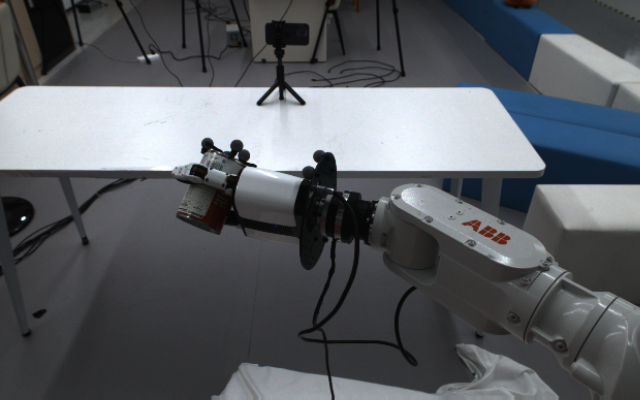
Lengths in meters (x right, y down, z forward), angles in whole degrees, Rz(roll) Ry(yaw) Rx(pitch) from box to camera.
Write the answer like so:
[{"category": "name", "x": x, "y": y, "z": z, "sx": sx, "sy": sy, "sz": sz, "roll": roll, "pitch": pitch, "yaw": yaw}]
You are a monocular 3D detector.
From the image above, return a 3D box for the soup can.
[{"category": "soup can", "x": -0.151, "y": -0.009, "z": 0.680, "sx": 0.067, "sy": 0.067, "sz": 0.101, "roll": 16, "pitch": 75, "yaw": 19}]
